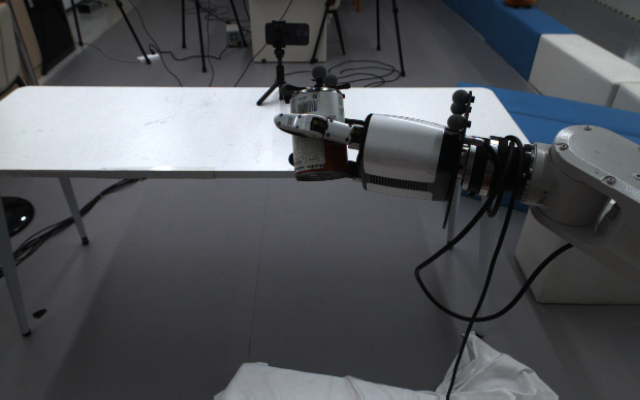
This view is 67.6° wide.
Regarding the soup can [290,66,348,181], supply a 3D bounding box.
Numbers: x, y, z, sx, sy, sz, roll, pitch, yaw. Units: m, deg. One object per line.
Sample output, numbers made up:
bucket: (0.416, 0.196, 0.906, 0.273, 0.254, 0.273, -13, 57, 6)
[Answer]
soup can: (0.001, -0.078, 0.592, 0.067, 0.101, 0.067, -5, -5, 0)
